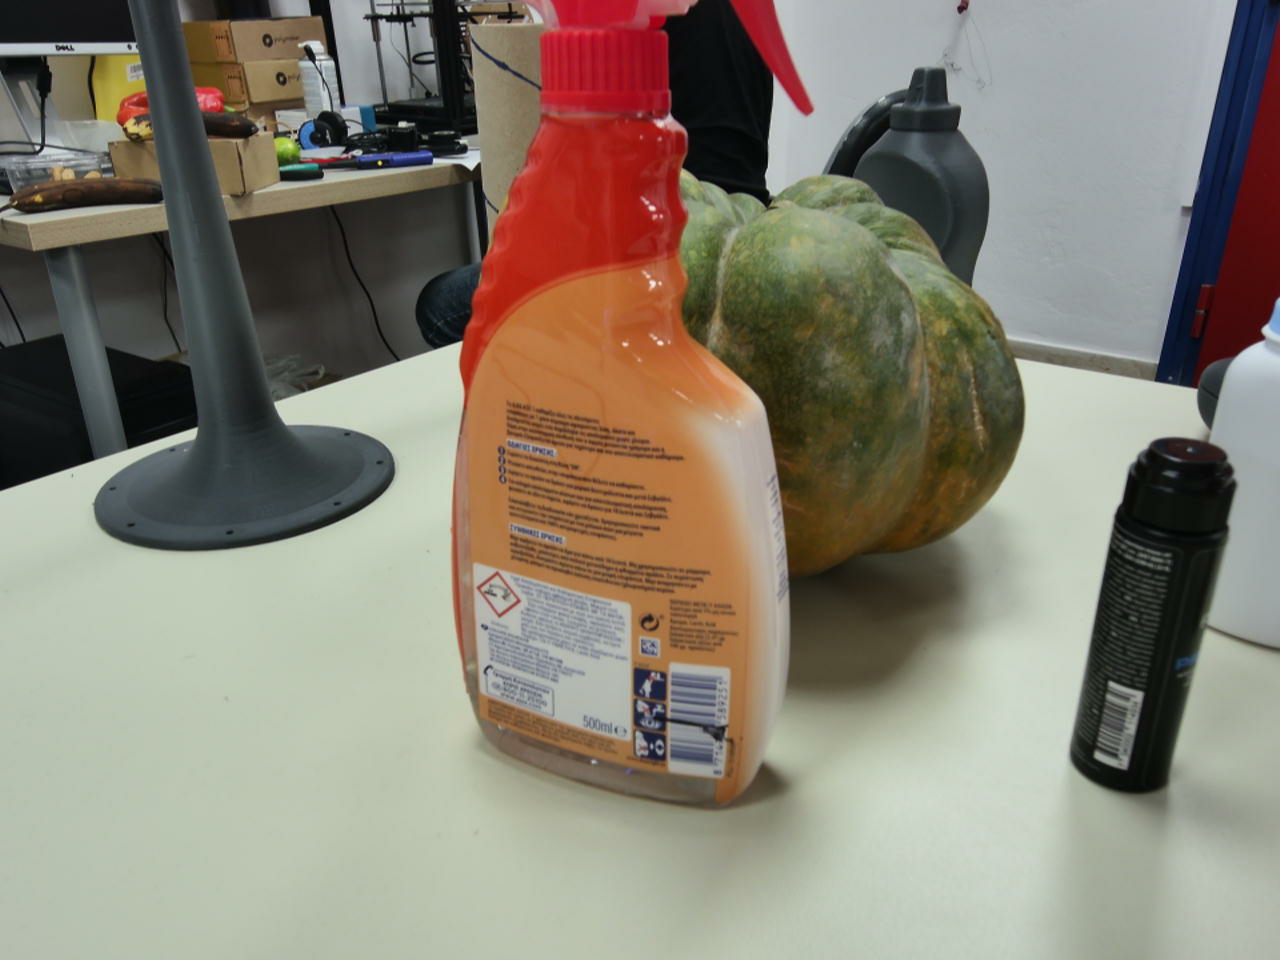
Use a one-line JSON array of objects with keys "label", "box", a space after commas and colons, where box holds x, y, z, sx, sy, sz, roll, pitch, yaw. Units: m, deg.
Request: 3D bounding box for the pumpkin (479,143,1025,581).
[{"label": "pumpkin", "box": [0.046, -0.060, 0.458, 0.237, 0.173, 0.270, -6, 24, -13]}]
